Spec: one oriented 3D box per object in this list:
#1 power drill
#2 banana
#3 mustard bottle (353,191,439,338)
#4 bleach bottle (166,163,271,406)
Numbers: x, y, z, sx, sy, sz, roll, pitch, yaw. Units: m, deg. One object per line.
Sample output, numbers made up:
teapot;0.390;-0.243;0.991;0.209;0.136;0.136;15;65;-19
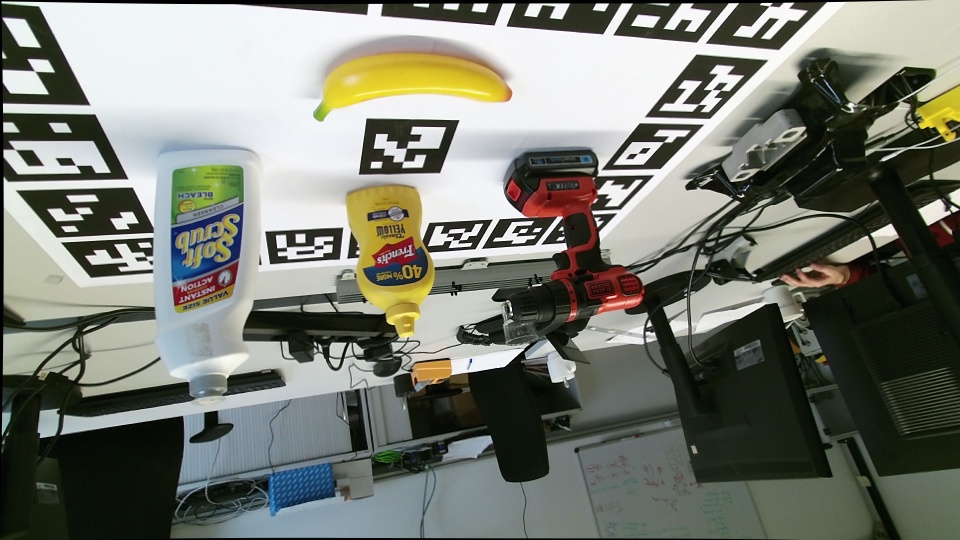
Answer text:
power drill;0.095;-0.017;0.682;0.185;0.186;0.057;-12;156;-15
banana;-0.061;-0.162;0.519;0.198;0.038;0.074;-10;154;-15
mustard bottle;-0.102;-0.006;0.674;0.096;0.190;0.058;-8;155;-11
bleach bottle;-0.260;0.010;0.544;0.103;0.249;0.068;-2;153;-26
